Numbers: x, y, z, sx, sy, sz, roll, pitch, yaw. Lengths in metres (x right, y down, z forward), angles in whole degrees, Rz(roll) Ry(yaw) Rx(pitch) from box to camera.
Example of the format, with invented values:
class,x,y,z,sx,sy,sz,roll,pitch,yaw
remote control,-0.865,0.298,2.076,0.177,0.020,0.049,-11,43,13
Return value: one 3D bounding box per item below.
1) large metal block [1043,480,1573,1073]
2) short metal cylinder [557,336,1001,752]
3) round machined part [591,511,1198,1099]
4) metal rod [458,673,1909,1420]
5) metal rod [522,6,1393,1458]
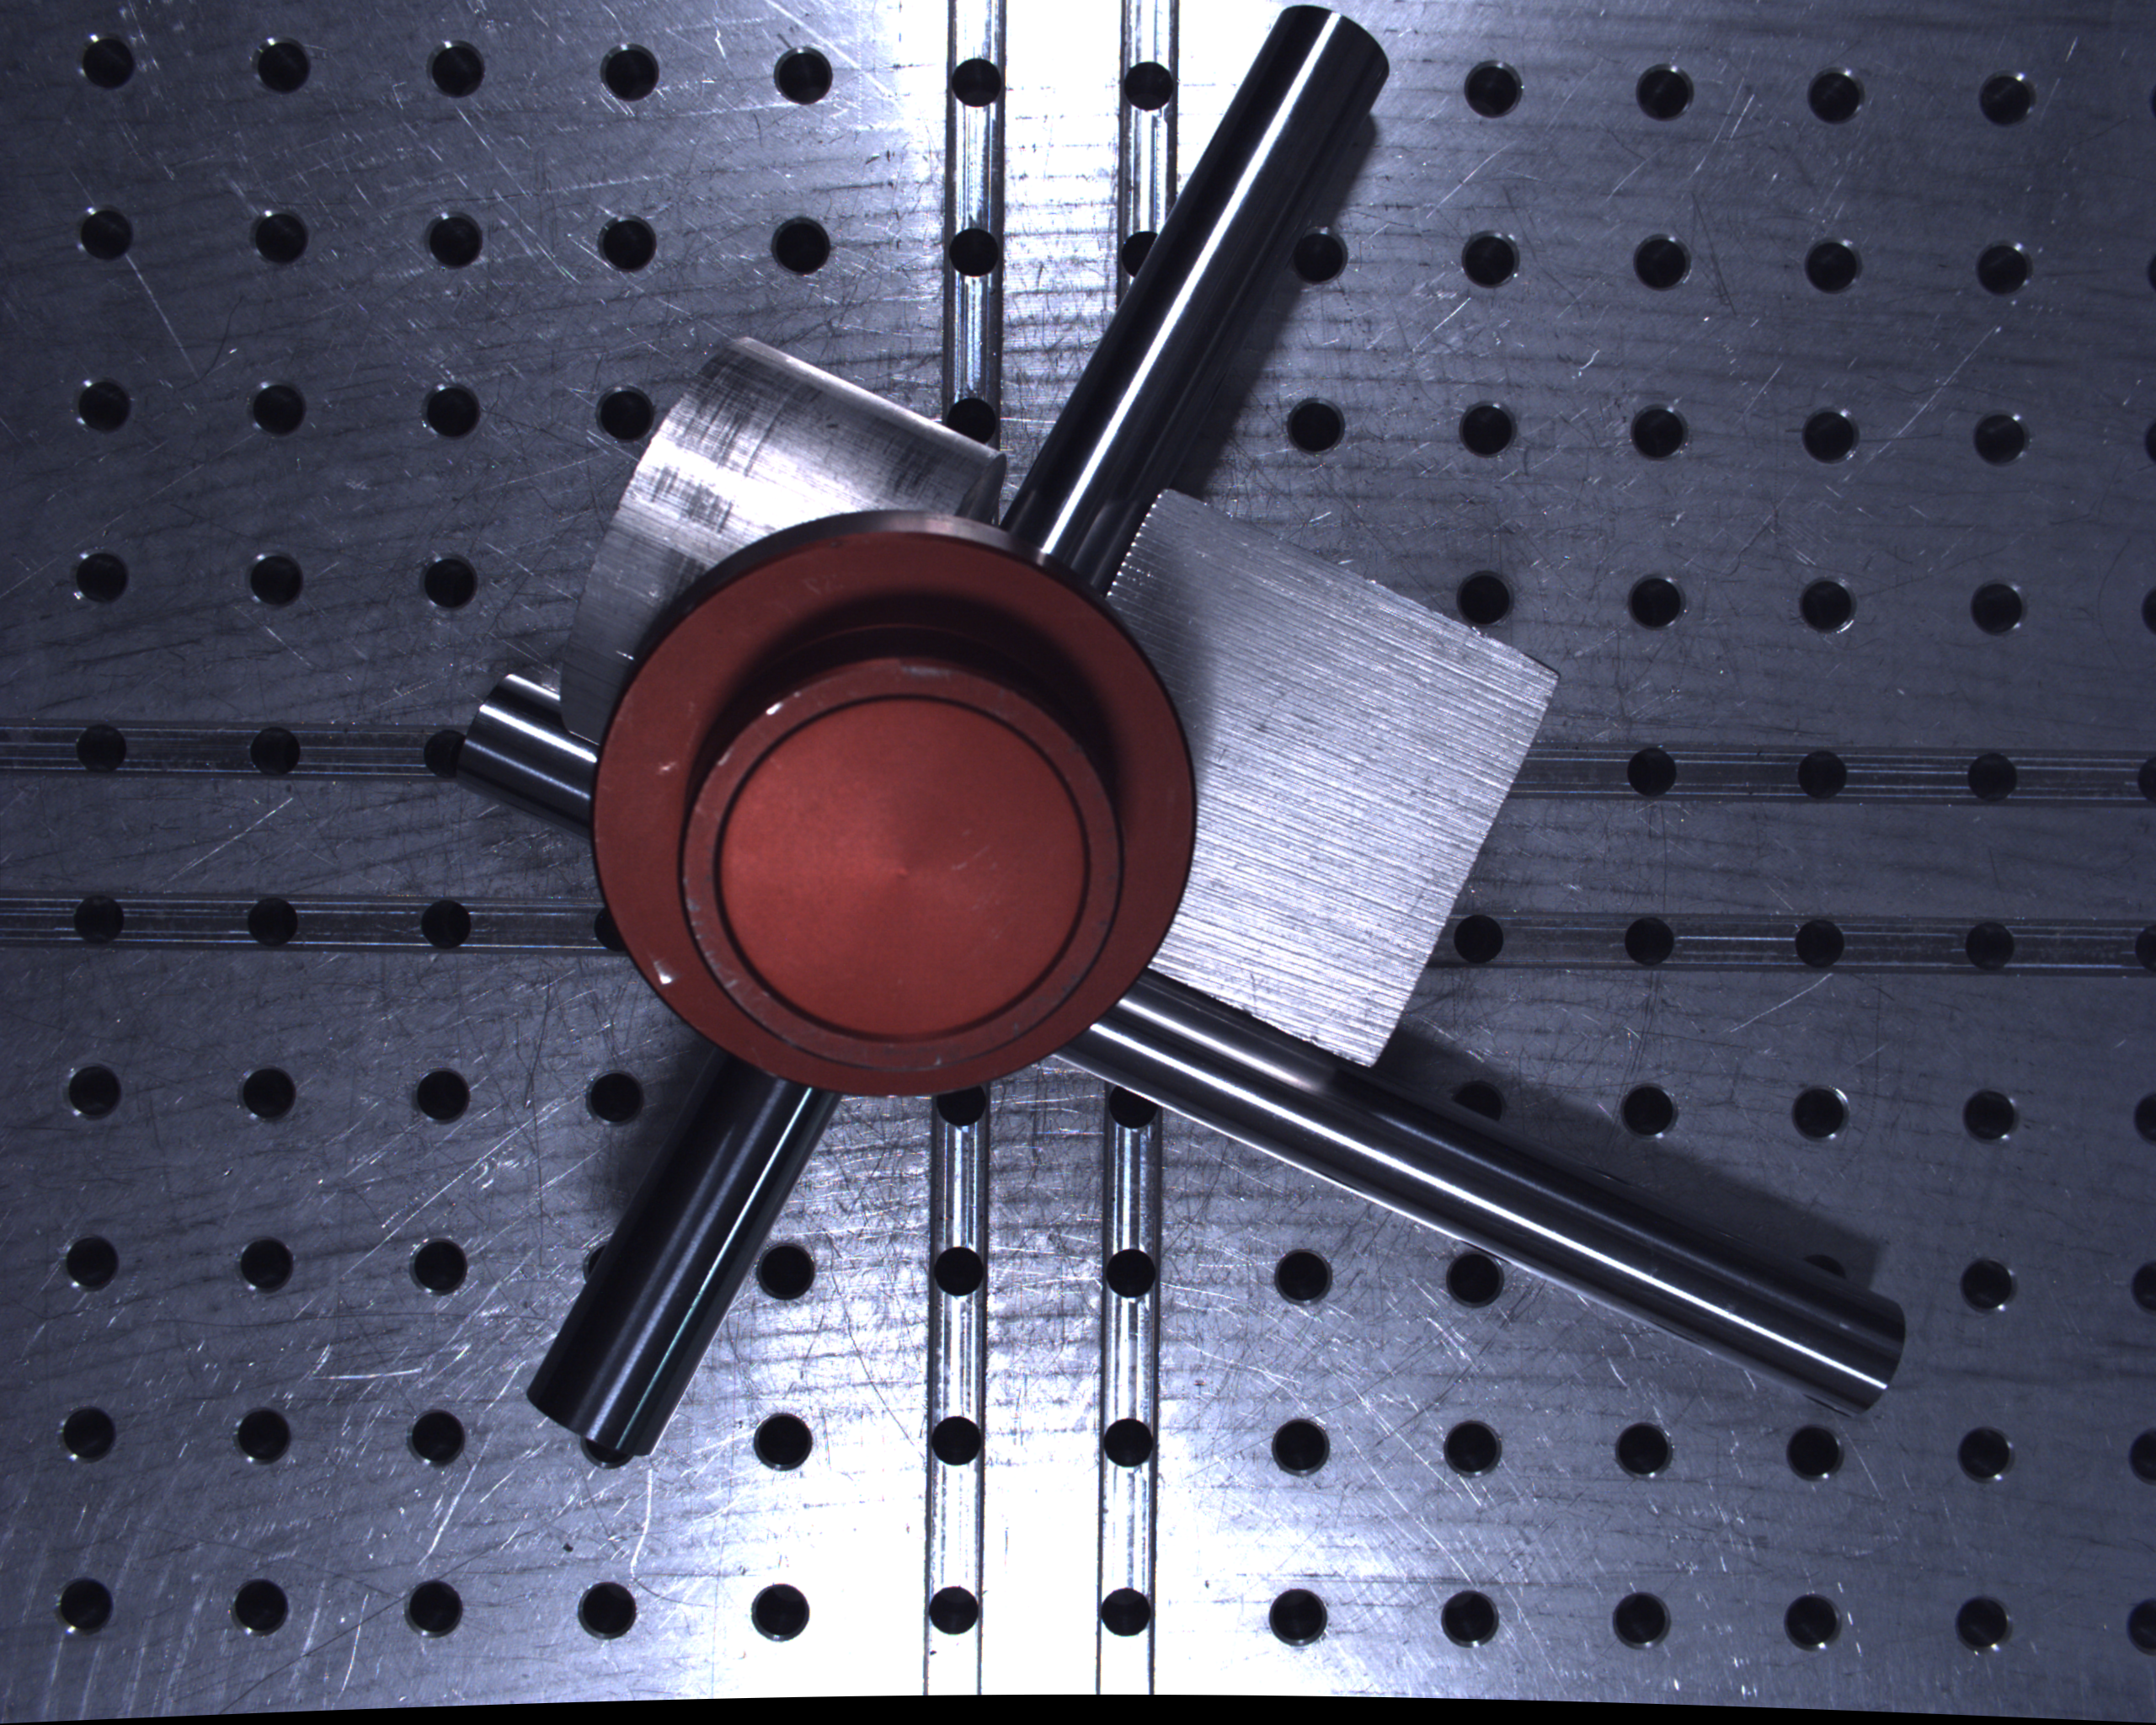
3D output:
class,x,y,z,sx,sy,sz,roll,pitch,yaw
large metal block,0.035,-0.016,0.398,0.080,0.050,0.080,26,90,-1
short metal cylinder,-0.054,-0.049,0.384,0.050,0.080,0.080,25,90,-1
round machined part,-0.029,-0.005,0.339,0.099,0.042,0.097,-3,110,-7
metal rod,0.021,0.037,0.413,0.301,0.025,0.025,25,90,-1
metal rod,-0.019,-0.030,0.394,0.025,0.025,0.299,28,82,-1
